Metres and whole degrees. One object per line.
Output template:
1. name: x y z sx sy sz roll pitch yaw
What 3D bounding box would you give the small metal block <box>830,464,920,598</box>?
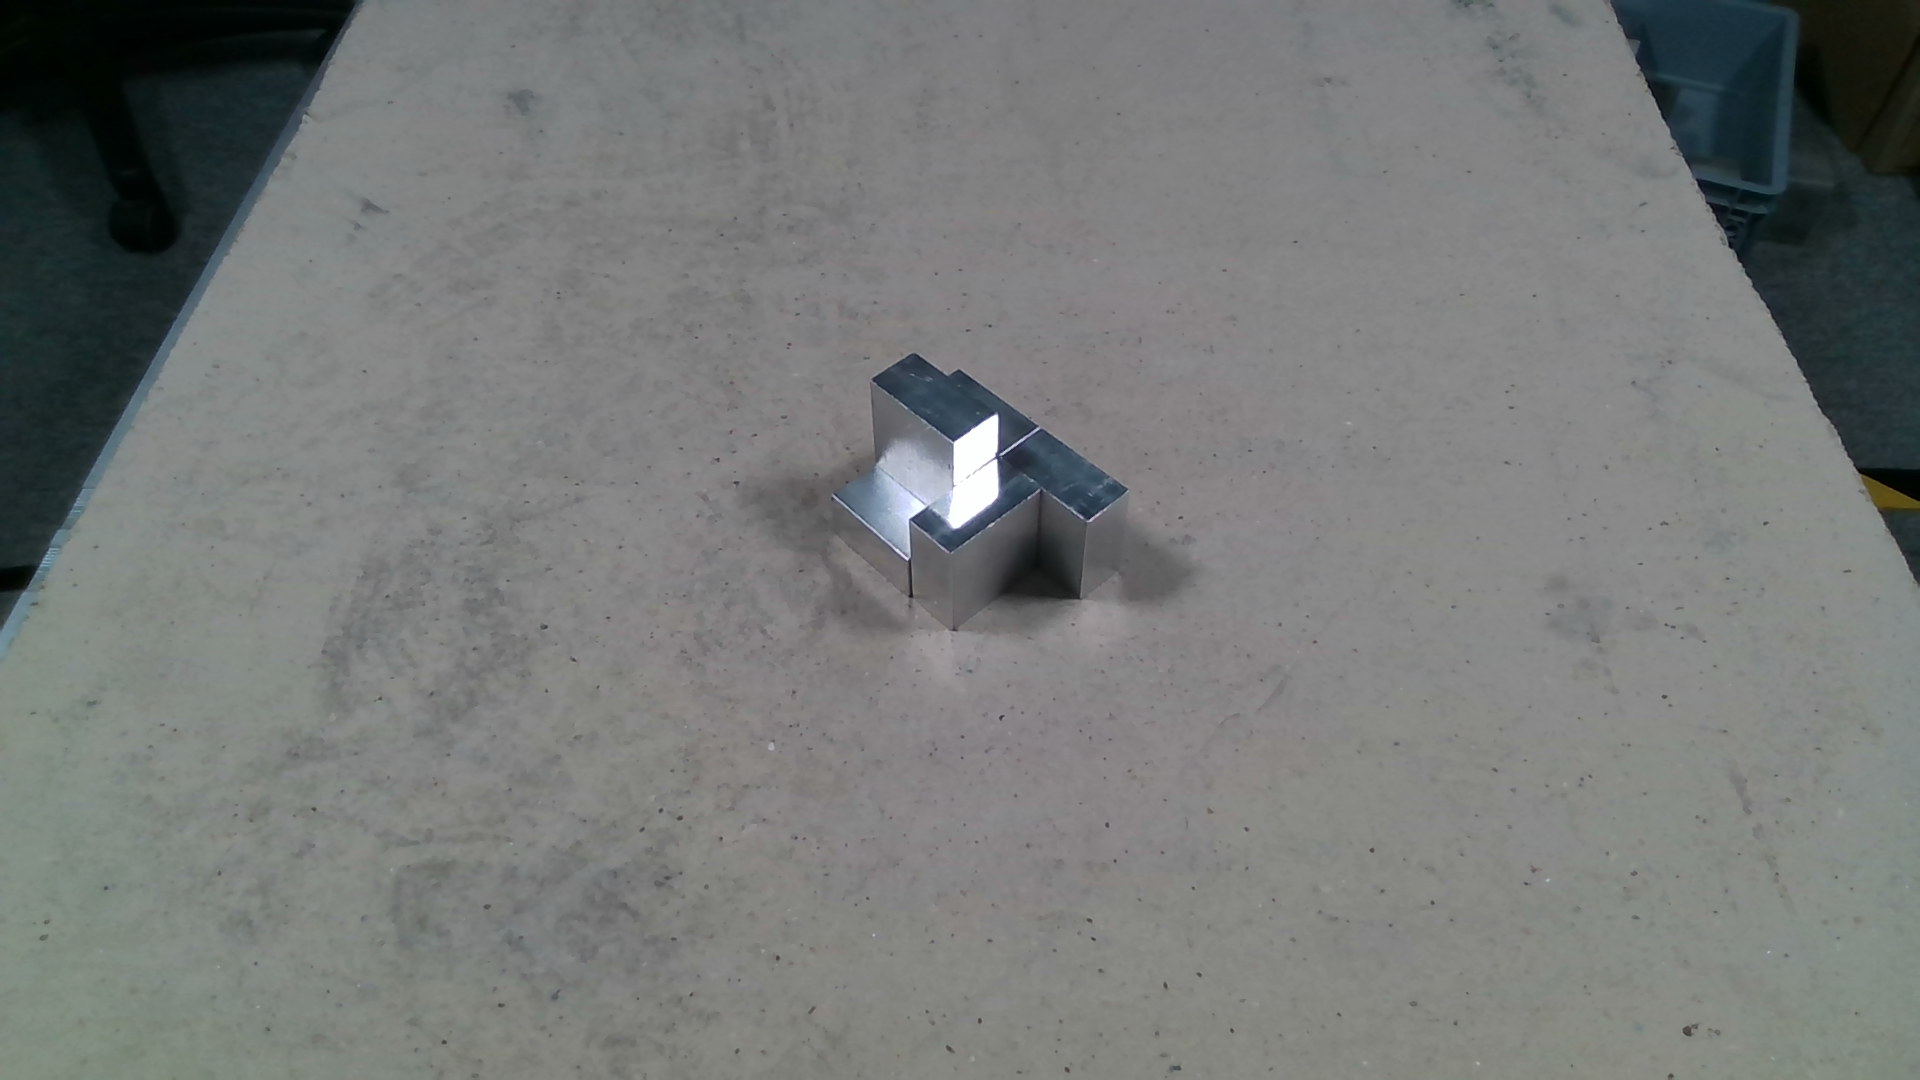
1. small metal block: -0.020 -0.011 0.596 0.050 0.025 0.050 -35 58 -26

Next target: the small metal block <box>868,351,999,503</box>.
1. small metal block: -0.011 -0.042 0.573 0.025 0.050 0.050 -37 59 -26

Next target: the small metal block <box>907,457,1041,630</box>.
1. small metal block: 0.006 0.001 0.569 0.050 0.050 0.025 -36 59 -26

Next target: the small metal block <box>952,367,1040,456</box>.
1. small metal block: 0.007 -0.039 0.603 0.025 0.050 0.050 -37 59 -26

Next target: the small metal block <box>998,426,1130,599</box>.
1. small metal block: 0.042 -0.011 0.580 0.025 0.050 0.050 -37 59 -26
